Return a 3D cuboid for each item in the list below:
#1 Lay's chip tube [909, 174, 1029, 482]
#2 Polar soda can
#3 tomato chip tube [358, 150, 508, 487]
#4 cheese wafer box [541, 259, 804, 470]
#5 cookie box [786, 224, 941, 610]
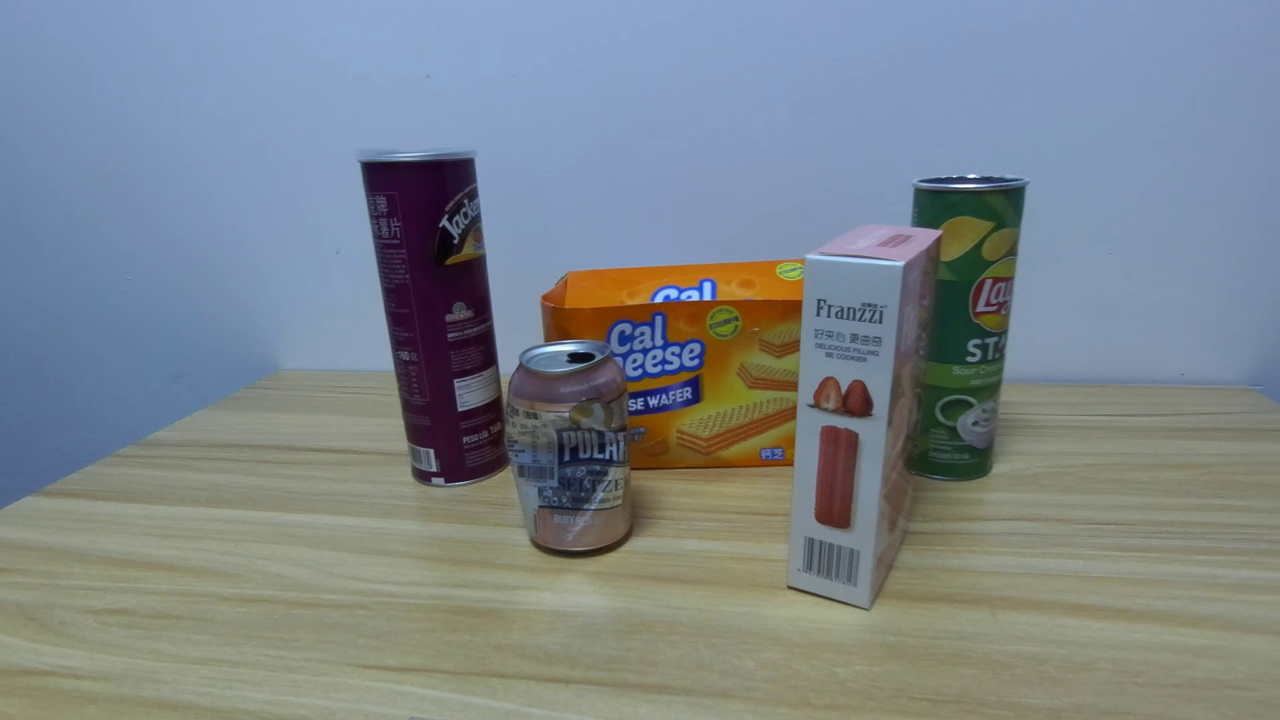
[{"bbox_3d":[0.218,-0.023,0.490,0.071,0.202,0.071,-3,19,1],"label":"Lay's chip tube"},{"bbox_3d":[-0.039,0.053,0.430,0.067,0.122,0.074,-21,26,-40],"label":"Polar soda can"},{"bbox_3d":[-0.146,-0.029,0.518,0.078,0.234,0.078,-2,18,1],"label":"tomato chip tube"},{"bbox_3d":[0.043,0.001,0.570,0.230,0.132,0.152,-1,19,1],"label":"cheese wafer box"},{"bbox_3d":[0.120,0.027,0.381,0.048,0.184,0.096,9,21,28],"label":"cookie box"}]
